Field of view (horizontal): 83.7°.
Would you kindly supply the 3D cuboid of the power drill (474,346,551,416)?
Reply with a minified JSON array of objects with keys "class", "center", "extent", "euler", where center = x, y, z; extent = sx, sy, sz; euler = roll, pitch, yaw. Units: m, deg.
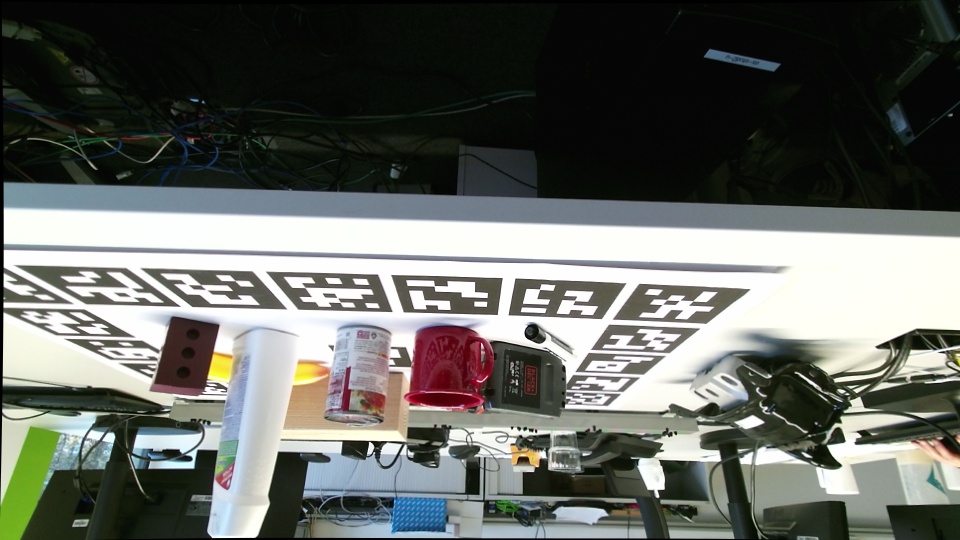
[{"class":"power drill","center":[0.015,0.168,0.764],"extent":[0.185,0.057,0.187],"euler":[19,150,-23]}]

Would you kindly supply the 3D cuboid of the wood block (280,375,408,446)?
[{"class":"wood block","center":[-0.221,0.217,0.829],"extent":[0.207,0.090,0.090],"euler":[1,152,1]}]

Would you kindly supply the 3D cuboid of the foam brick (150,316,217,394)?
[{"class":"foam brick","center":[-0.345,0.099,0.620],"extent":[0.053,0.077,0.051],"euler":[16,152,-31]}]

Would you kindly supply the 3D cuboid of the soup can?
[{"class":"soup can","center":[-0.141,0.129,0.623],"extent":[0.068,0.101,0.068],"euler":[3,157,1]}]

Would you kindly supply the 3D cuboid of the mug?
[{"class":"mug","center":[-0.032,0.116,0.625],"extent":[0.093,0.081,0.117],"euler":[27,141,-36]}]

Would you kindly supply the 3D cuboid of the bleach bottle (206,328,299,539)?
[{"class":"bleach bottle","center":[-0.269,0.200,0.621],"extent":[0.068,0.249,0.103],"euler":[15,151,-26]}]

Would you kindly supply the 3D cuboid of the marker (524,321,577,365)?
[{"class":"marker","center":[0.085,0.088,0.637],"extent":[0.020,0.019,0.121],"euler":[-16,148,26]}]

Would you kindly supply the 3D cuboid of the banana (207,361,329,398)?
[{"class":"banana","center":[-0.301,0.155,0.760],"extent":[0.198,0.038,0.074],"euler":[11,138,-12]}]
